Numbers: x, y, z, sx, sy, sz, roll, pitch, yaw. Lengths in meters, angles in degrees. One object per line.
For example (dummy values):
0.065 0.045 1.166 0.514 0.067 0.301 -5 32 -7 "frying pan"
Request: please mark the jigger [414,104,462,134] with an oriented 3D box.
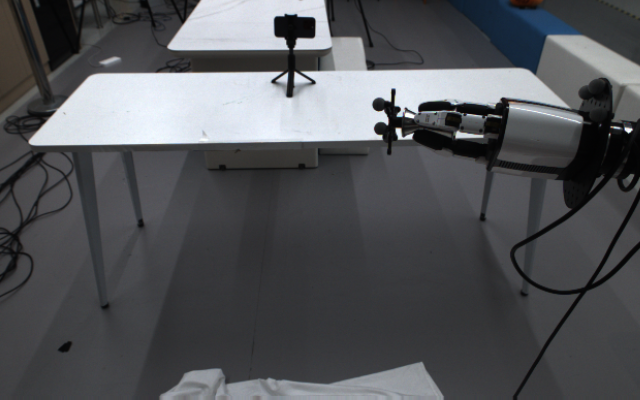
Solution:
0.152 -0.106 0.646 0.071 0.043 0.043 4 34 19 "jigger"
